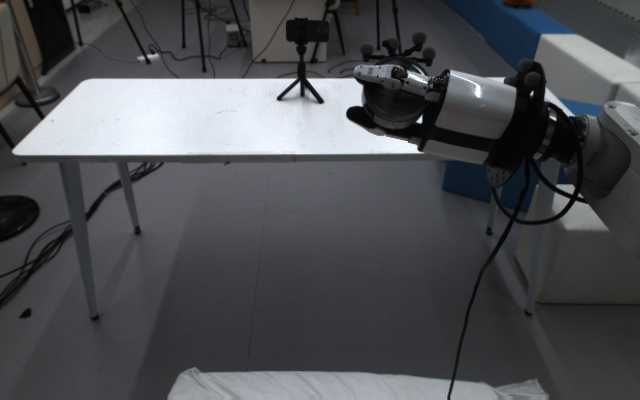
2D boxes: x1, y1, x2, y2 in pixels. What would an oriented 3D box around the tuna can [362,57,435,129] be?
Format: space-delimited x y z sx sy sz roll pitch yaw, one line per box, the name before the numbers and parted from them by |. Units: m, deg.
tuna can | 0.098 -0.131 0.606 0.085 0.034 0.085 0 75 0
